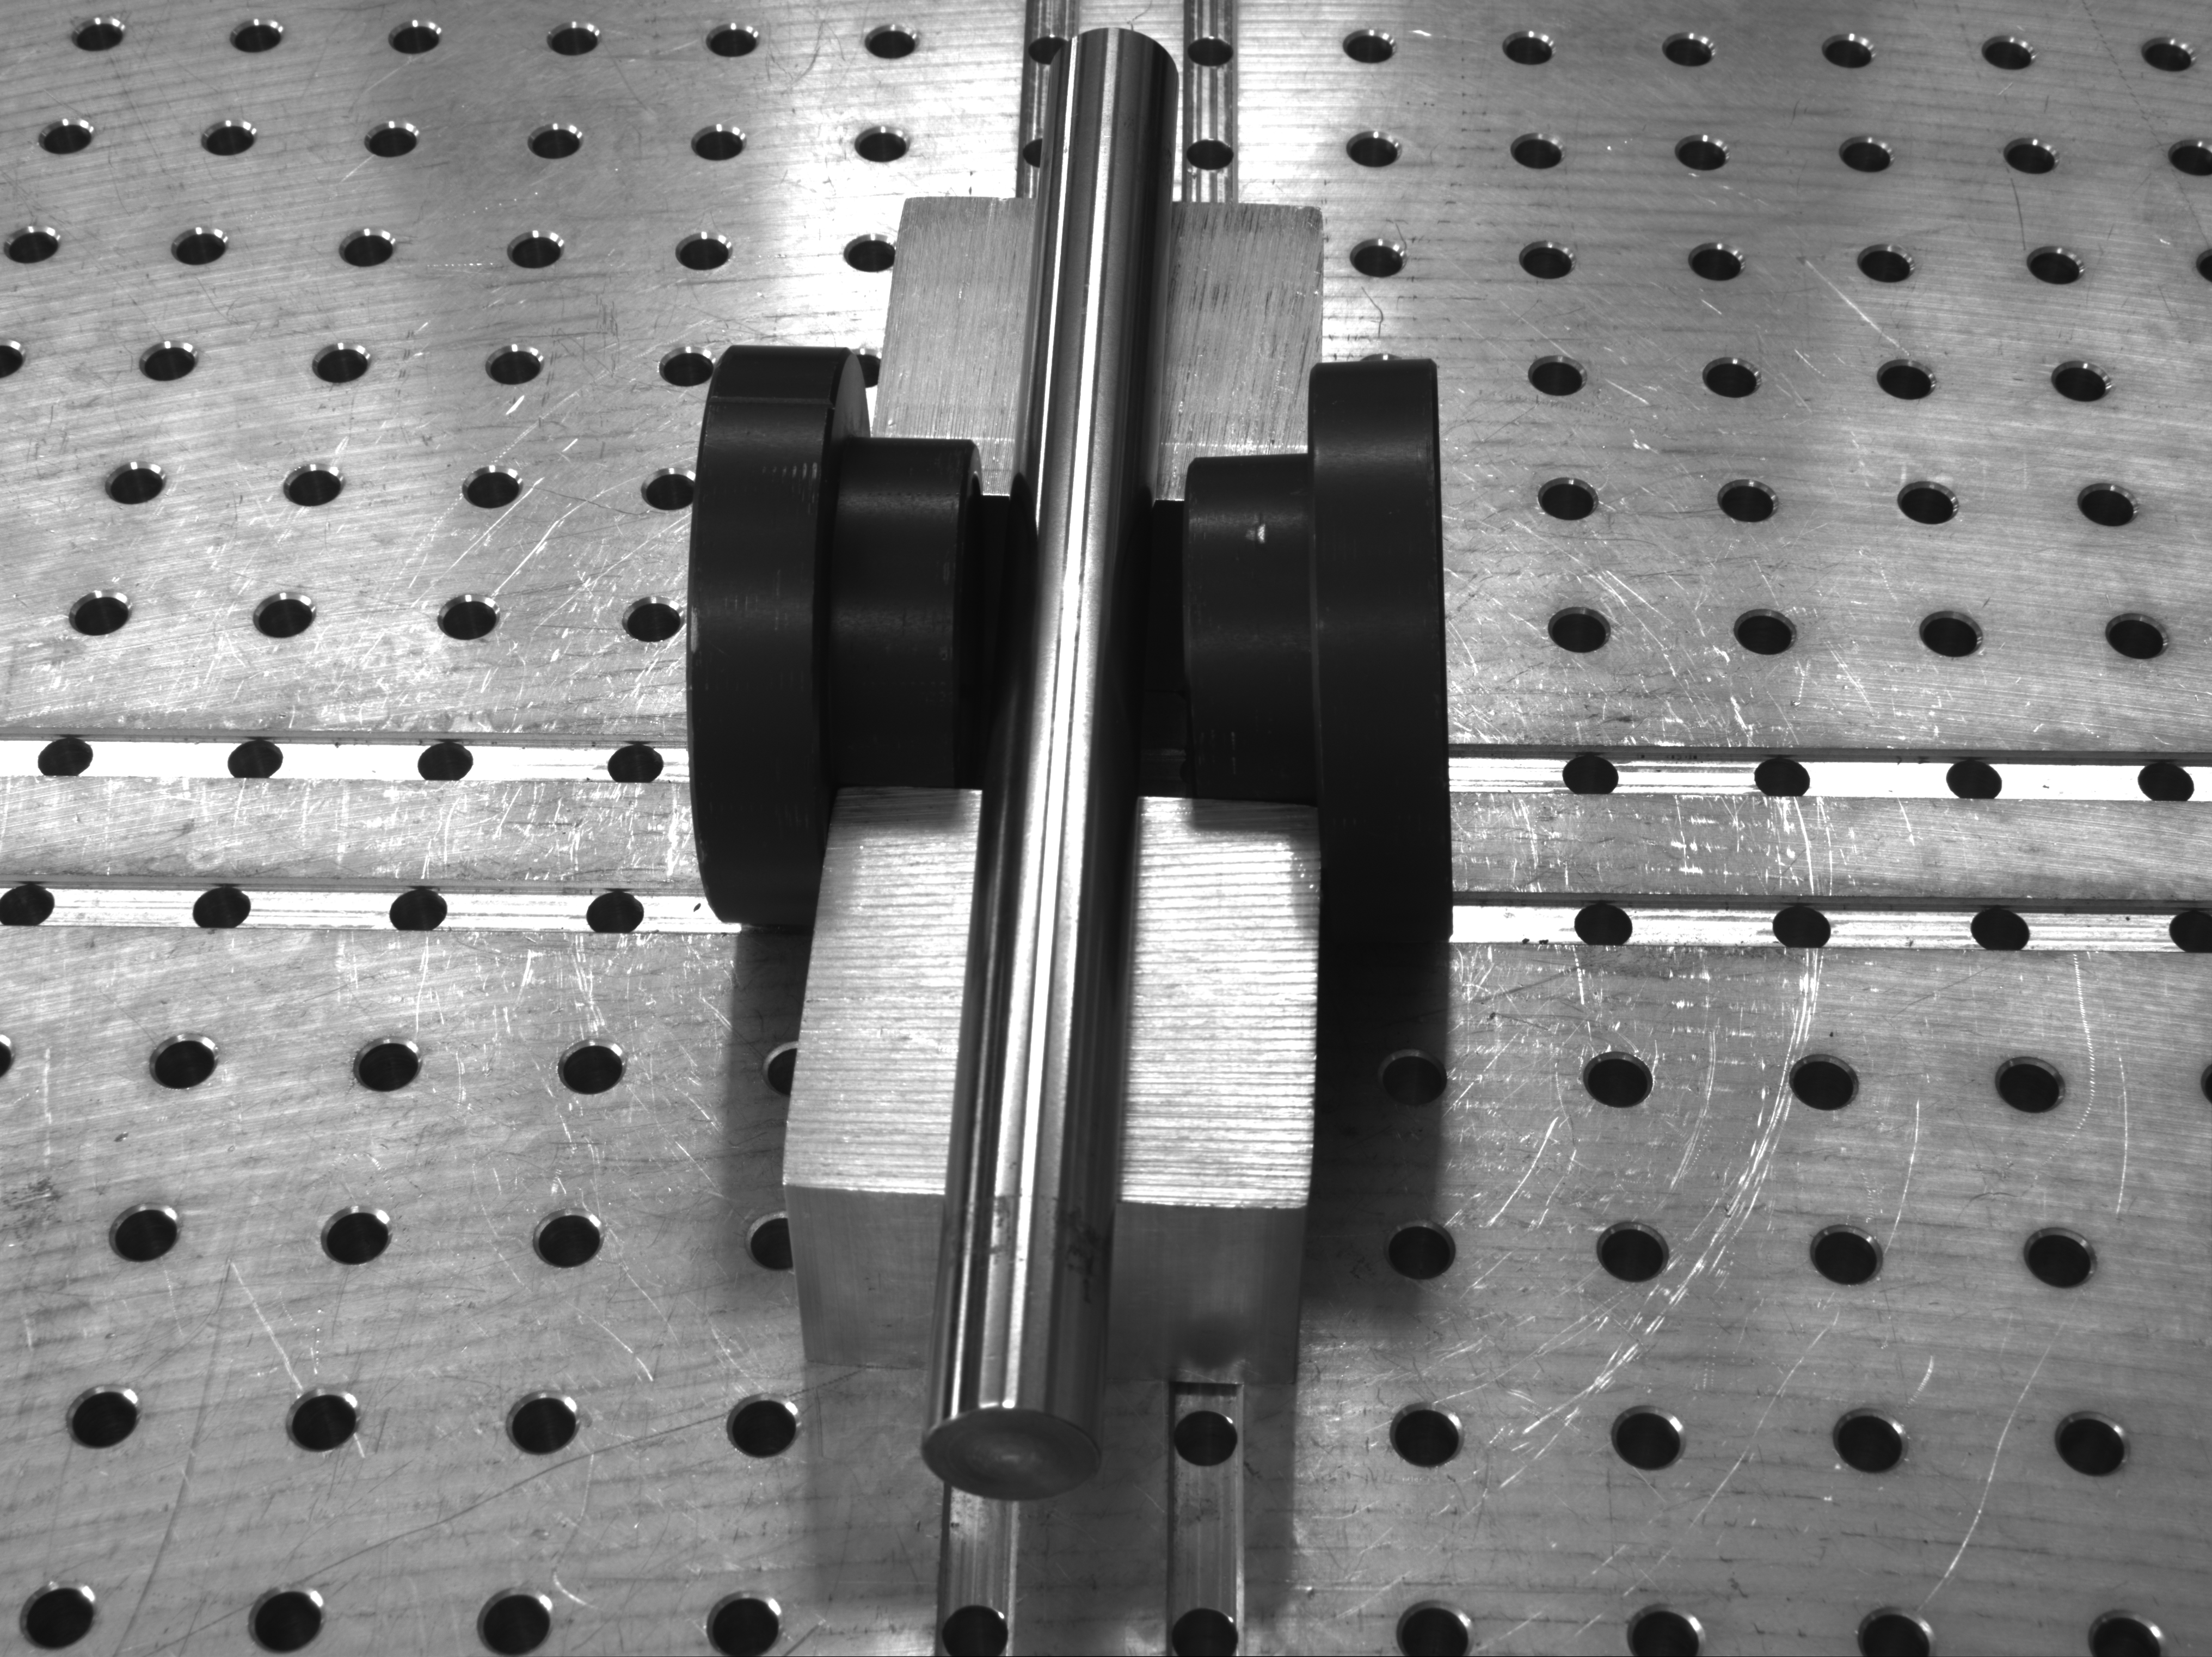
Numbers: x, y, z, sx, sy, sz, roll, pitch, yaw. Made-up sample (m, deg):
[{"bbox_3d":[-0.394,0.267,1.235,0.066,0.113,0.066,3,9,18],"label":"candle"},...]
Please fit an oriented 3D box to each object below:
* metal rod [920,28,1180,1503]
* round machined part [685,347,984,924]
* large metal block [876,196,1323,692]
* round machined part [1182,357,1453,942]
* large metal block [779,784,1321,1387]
[{"bbox_3d":[-0.006,-0.028,0.604,0.025,0.025,0.300,2,50,2],"label":"metal rod"},{"bbox_3d":[-0.044,-0.032,0.624,0.042,0.098,0.098,1,50,2],"label":"round machined part"},{"bbox_3d":[0.000,-0.072,0.690,0.080,0.050,0.080,2,50,2],"label":"large metal block"},{"bbox_3d":[0.036,-0.030,0.623,0.042,0.098,0.098,-2,50,5],"label":"round machined part"},{"bbox_3d":[-0.007,0.041,0.594,0.080,0.050,0.080,2,50,2],"label":"large metal block"}]
